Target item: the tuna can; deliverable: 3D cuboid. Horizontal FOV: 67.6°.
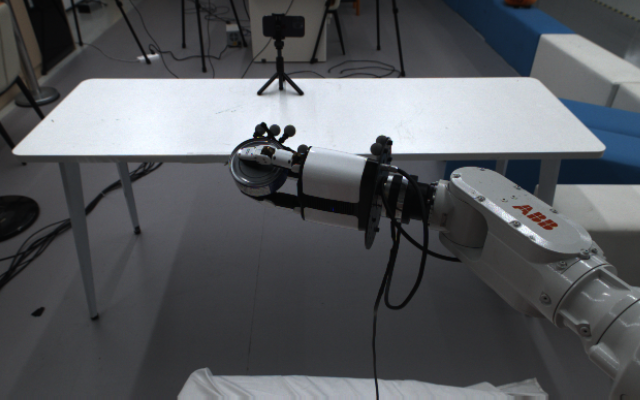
[{"bbox_3d":[-0.091,-0.049,0.721,0.085,0.034,0.085,-2,59,3],"label":"tuna can"}]
